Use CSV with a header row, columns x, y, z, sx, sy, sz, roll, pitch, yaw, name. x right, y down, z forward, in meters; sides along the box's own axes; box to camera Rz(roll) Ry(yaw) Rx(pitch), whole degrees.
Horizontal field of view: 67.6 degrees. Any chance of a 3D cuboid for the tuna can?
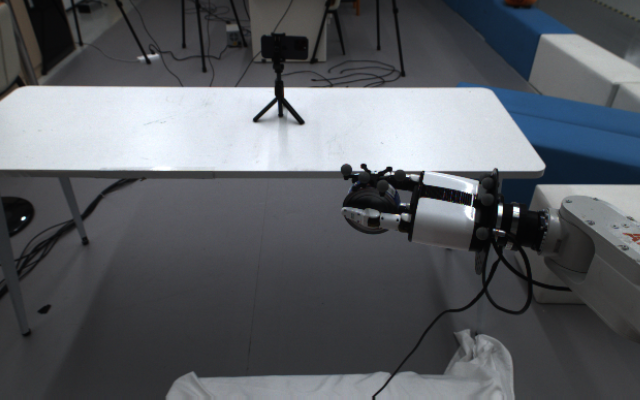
x,y,z,sx,sy,sz,roll,pitch,yaw,name
0.081,0.008,0.744,0.085,0.085,0.034,10,34,12,tuna can
